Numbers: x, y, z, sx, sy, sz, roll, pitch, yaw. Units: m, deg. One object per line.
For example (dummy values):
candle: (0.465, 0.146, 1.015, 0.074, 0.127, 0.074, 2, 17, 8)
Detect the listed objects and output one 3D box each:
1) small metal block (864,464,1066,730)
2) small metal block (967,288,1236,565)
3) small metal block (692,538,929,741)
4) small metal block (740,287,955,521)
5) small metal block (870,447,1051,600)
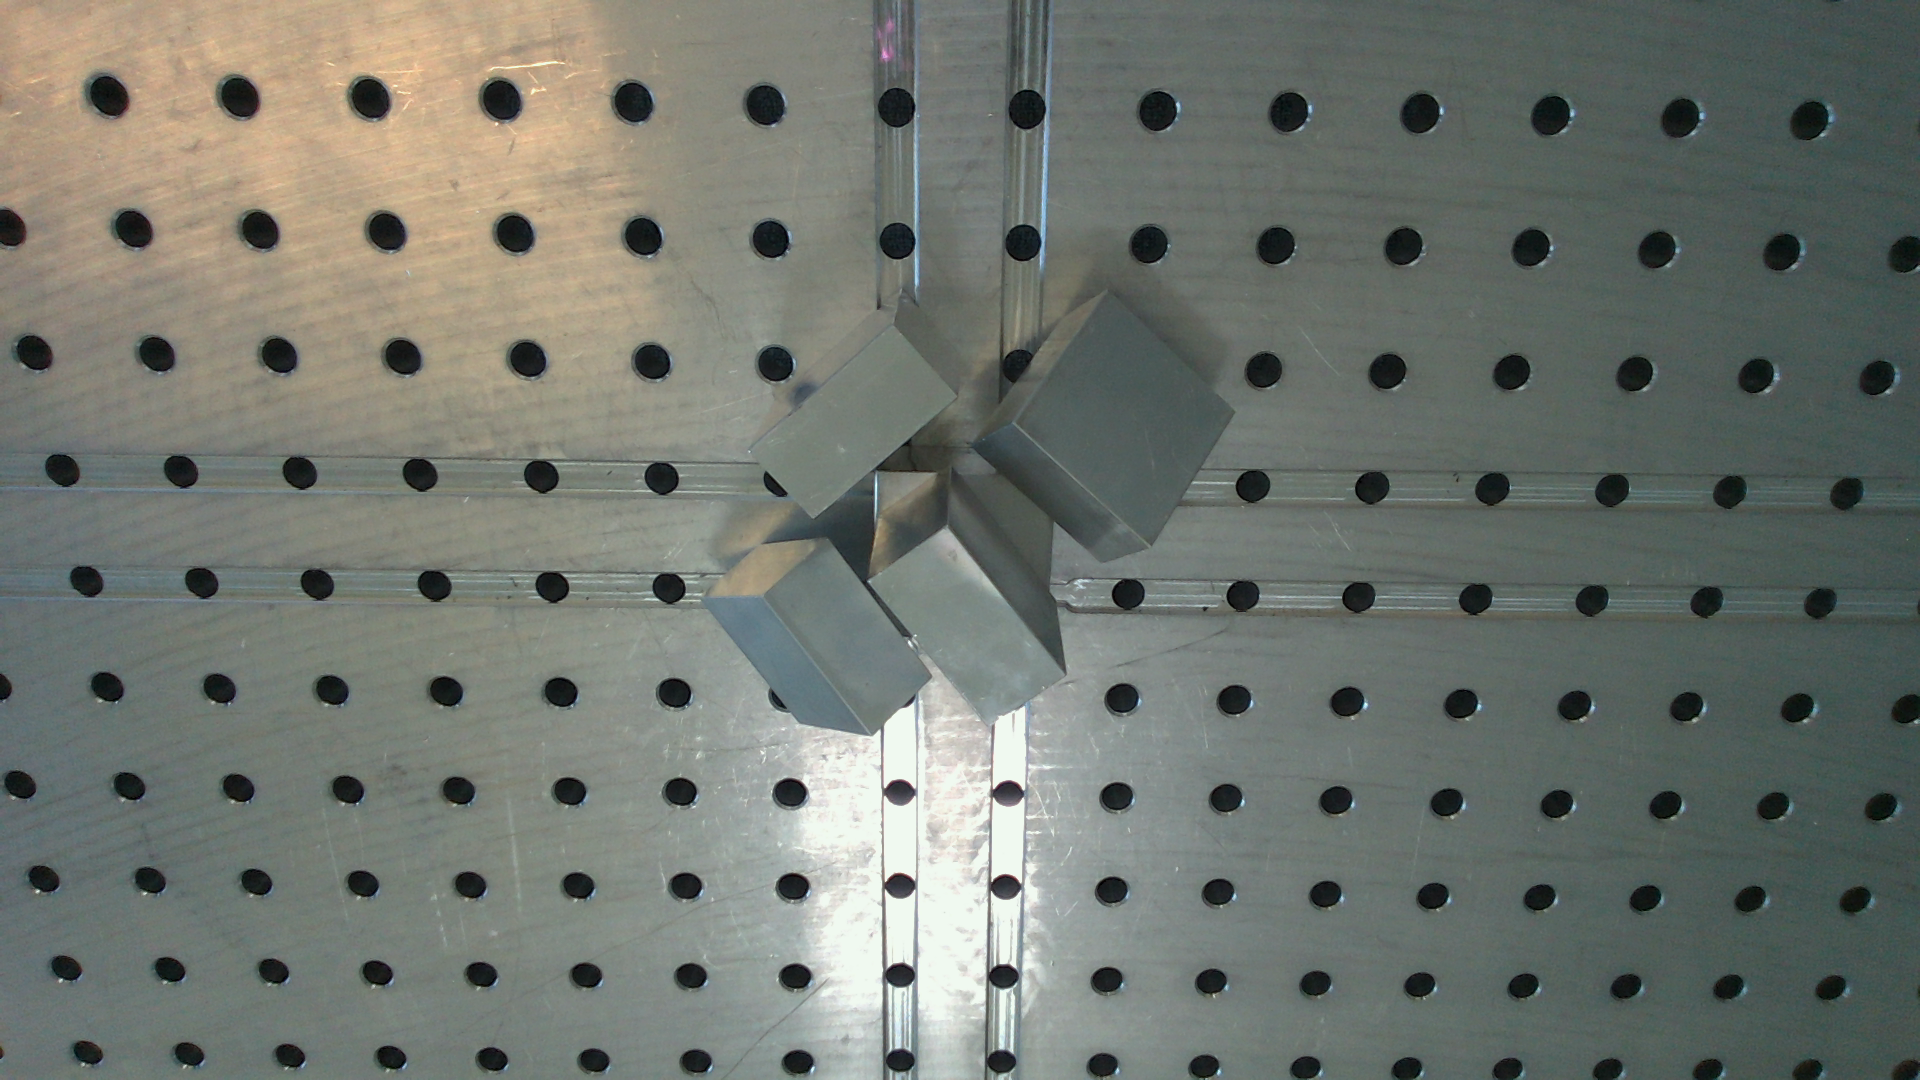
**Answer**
small metal block: (0.001, 0.014, 0.361, 0.025, 0.050, 0.050, -35, 107, 11)
small metal block: (0.039, -0.030, 0.371, 0.050, 0.025, 0.050, 41, 65, -14)
small metal block: (-0.043, 0.028, 0.390, 0.025, 0.050, 0.050, -43, 108, -25)
small metal block: (-0.028, -0.038, 0.369, 0.050, 0.050, 0.025, -39, 105, 13)
small metal block: (0.000, 0.001, 0.396, 0.050, 0.025, 0.050, 0, 110, -1)
